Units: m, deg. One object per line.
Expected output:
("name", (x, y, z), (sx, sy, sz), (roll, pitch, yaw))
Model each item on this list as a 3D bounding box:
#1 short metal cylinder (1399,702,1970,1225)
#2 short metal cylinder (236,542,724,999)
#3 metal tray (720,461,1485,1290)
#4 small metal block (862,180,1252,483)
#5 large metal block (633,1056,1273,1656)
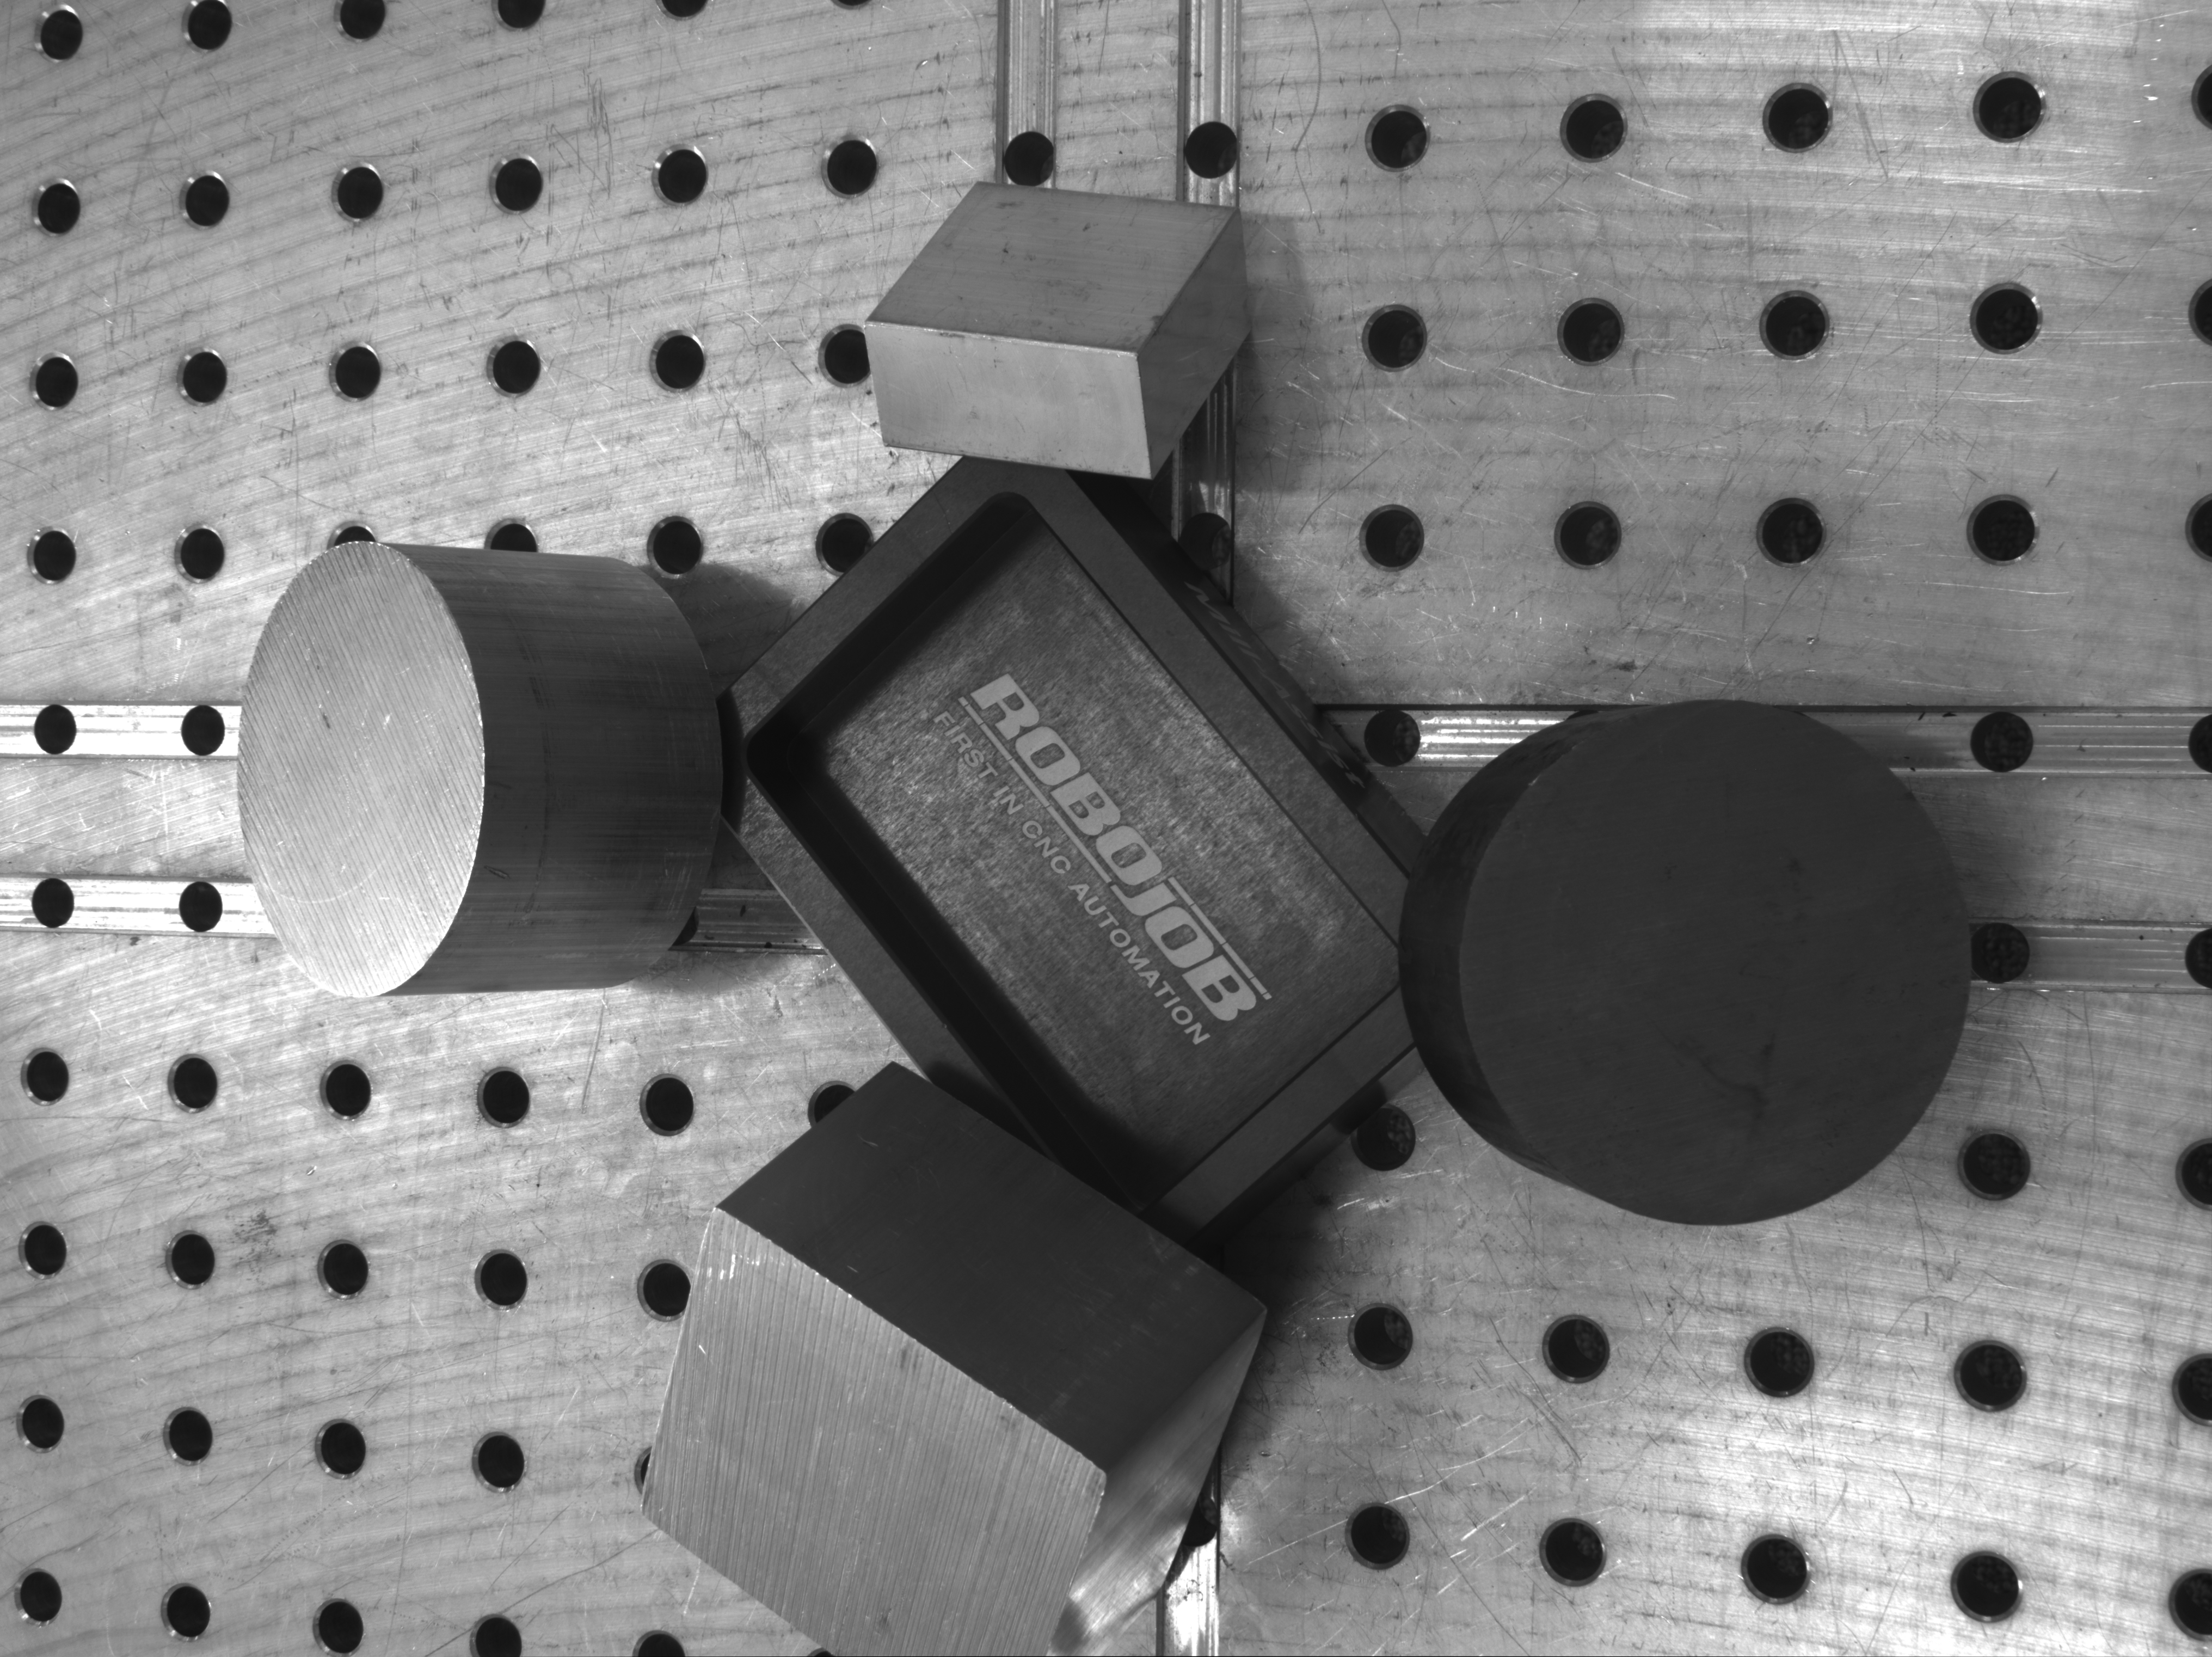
("short metal cylinder", (0.091, 0.021, 0.587), (0.080, 0.050, 0.080), (0, 90, -6))
("short metal cylinder", (-0.113, -0.010, 0.661), (0.080, 0.050, 0.080), (0, 91, 46))
("metal tray", (-0.002, 0.005, 0.647), (0.090, 0.030, 0.130), (-43, 76, 15))
("small metal block", (-0.008, -0.087, 0.636), (0.050, 0.050, 0.025), (10, 131, 20))
("large metal block", (-0.028, 0.100, 0.628), (0.080, 0.050, 0.080), (32, 131, 17))
